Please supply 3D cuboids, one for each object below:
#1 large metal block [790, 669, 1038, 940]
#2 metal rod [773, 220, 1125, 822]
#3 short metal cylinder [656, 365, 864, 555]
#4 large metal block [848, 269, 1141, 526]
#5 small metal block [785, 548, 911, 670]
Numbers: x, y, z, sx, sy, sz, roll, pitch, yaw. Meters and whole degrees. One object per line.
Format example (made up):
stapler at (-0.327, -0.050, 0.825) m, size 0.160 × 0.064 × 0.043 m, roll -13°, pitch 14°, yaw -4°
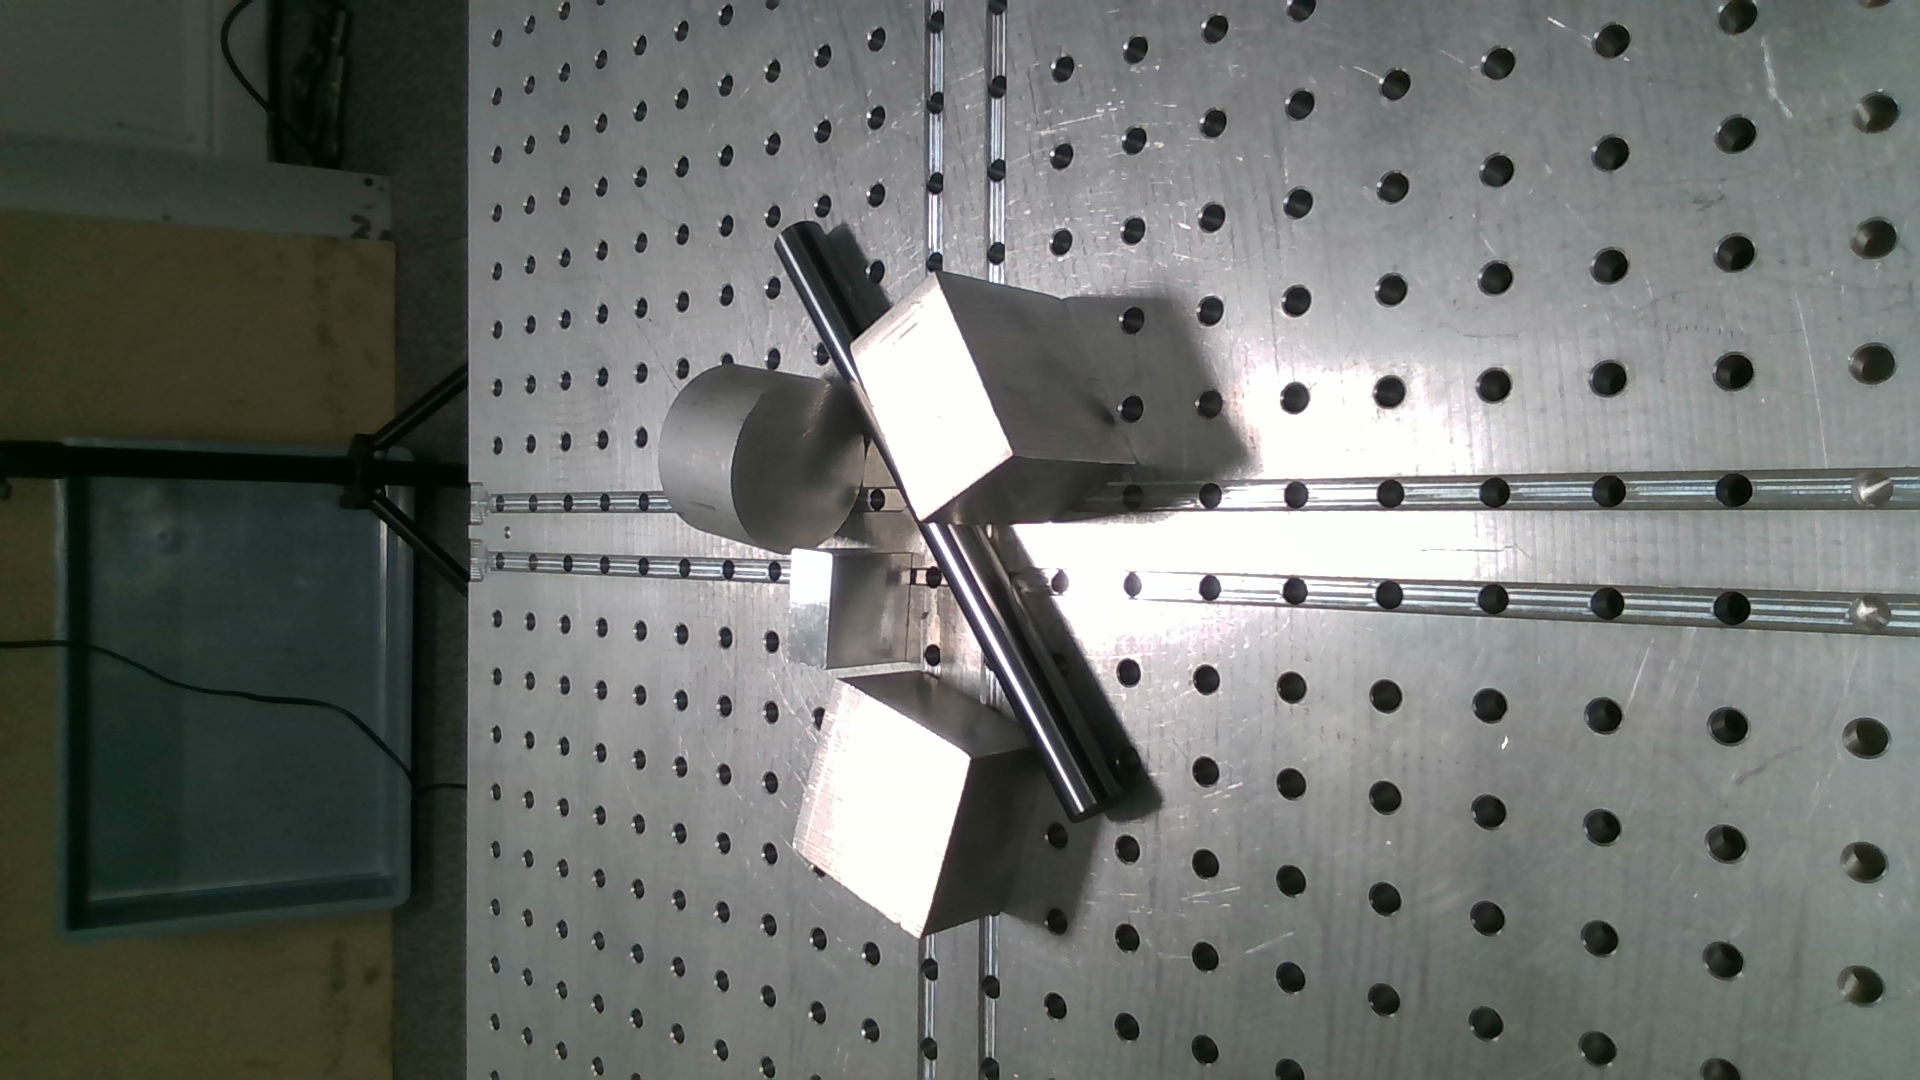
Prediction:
large metal block at (-0.019, 0.108, 0.582) m, size 0.080 × 0.050 × 0.080 m, roll 25°, pitch 106°, yaw 37°
metal rod at (-0.011, -0.018, 0.594) m, size 0.025 × 0.025 × 0.299 m, roll -42°, pitch 65°, yaw 32°
short metal cylinder at (-0.090, -0.037, 0.624) m, size 0.050 × 0.080 × 0.080 m, roll 15°, pitch 100°, yaw 39°
large metal block at (0.014, -0.053, 0.538) m, size 0.050 × 0.080 × 0.080 m, roll -35°, pitch 68°, yaw 35°
small metal block at (-0.049, 0.029, 0.611) m, size 0.025 × 0.050 × 0.050 m, roll 7°, pitch 95°, yaw 40°
